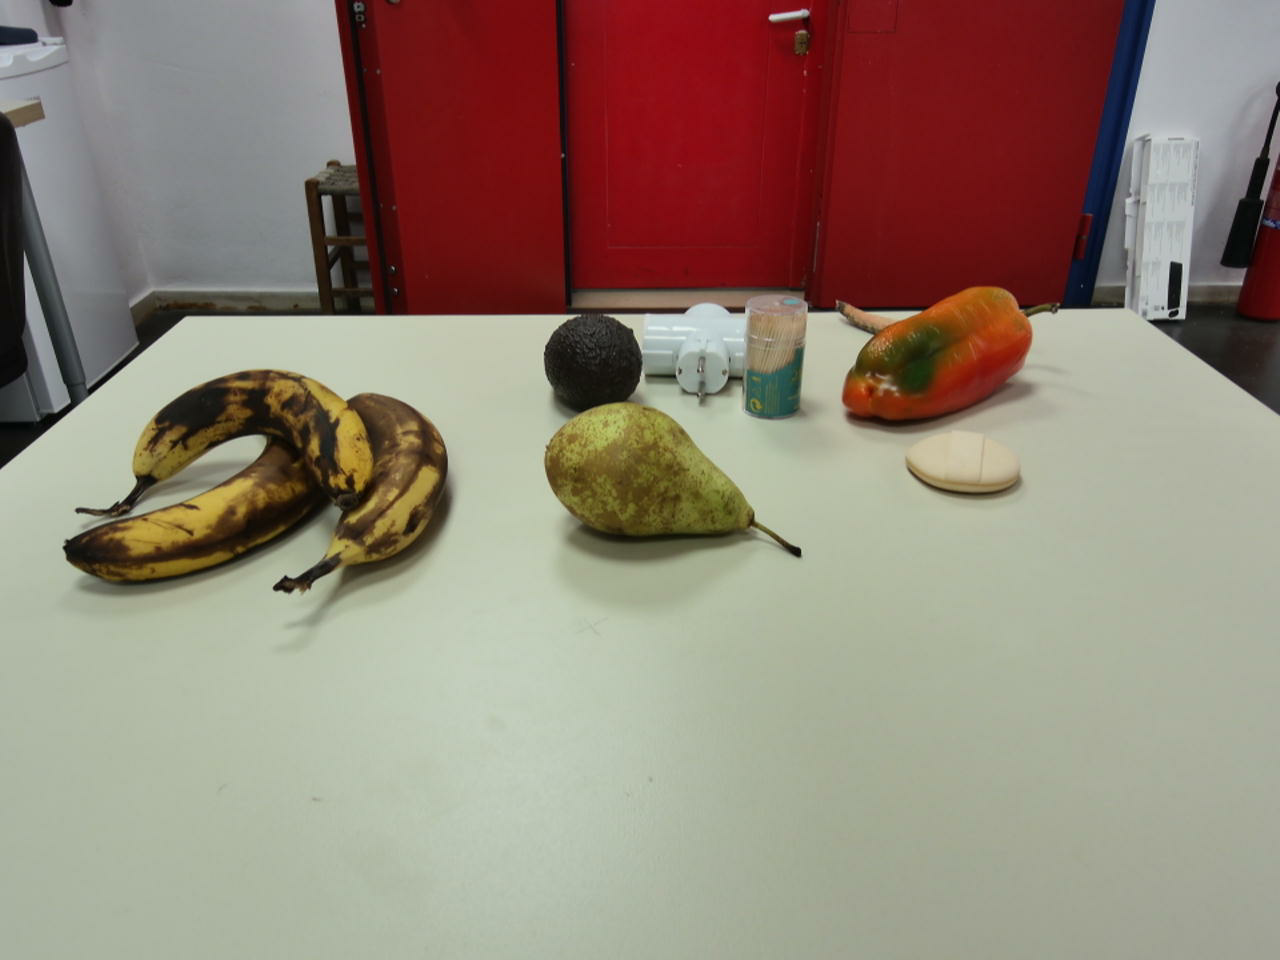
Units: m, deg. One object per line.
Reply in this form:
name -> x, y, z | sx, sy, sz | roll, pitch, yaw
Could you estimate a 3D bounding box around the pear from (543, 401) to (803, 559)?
pear -> 0.014, -0.005, 0.531 | 0.128, 0.075, 0.071 | -4, 26, -7
